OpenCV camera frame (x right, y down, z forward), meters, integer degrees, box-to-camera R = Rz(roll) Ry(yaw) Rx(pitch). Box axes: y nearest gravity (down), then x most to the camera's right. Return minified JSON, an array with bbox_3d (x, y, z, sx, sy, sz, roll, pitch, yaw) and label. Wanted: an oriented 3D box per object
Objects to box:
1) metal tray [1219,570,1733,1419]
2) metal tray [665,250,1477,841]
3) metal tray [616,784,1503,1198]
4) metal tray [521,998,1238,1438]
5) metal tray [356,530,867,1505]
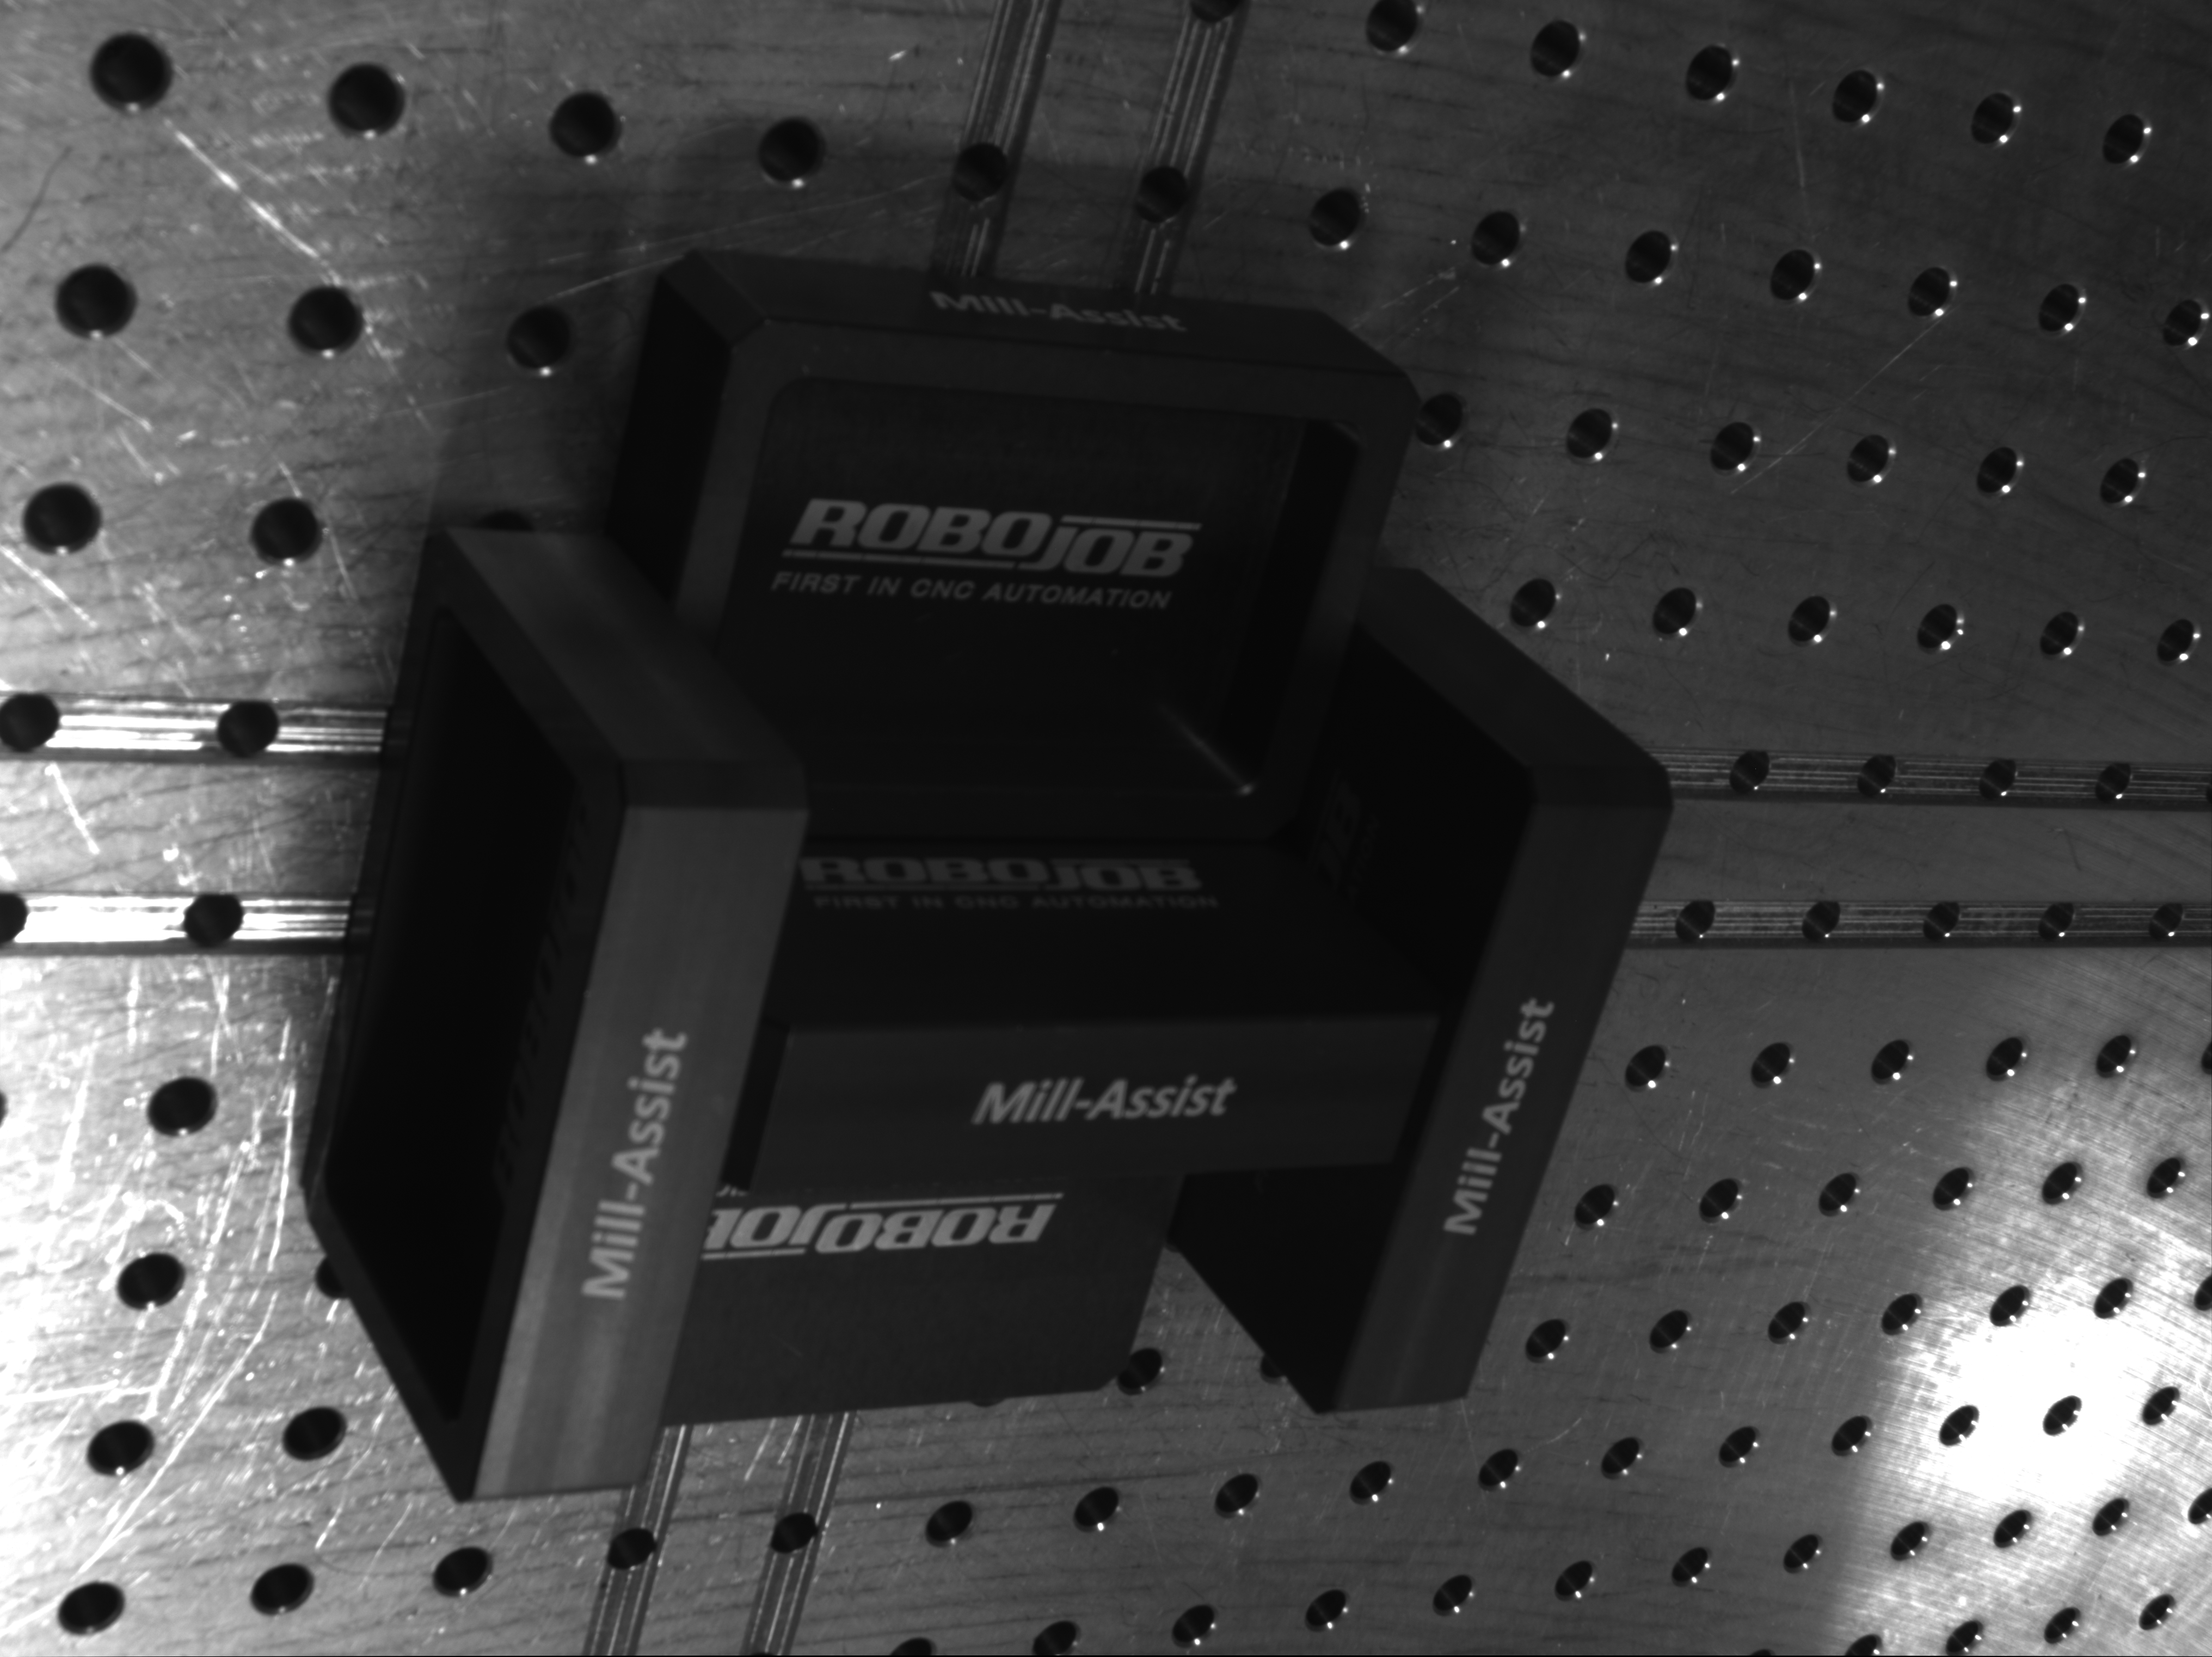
[{"bbox_3d":[0.058,0.029,0.662,0.030,0.090,0.130,1,118,-31],"label":"metal tray"},{"bbox_3d":[-0.009,-0.045,0.618,0.130,0.030,0.090,1,118,-31],"label":"metal tray"},{"bbox_3d":[-0.011,0.023,0.617,0.130,0.090,0.030,1,118,-31],"label":"metal tray"},{"bbox_3d":[-0.039,0.063,0.666,0.130,0.030,0.090,1,118,-31],"label":"metal tray"},{"bbox_3d":[-0.082,0.029,0.581,0.030,0.090,0.130,1,118,-31],"label":"metal tray"}]
